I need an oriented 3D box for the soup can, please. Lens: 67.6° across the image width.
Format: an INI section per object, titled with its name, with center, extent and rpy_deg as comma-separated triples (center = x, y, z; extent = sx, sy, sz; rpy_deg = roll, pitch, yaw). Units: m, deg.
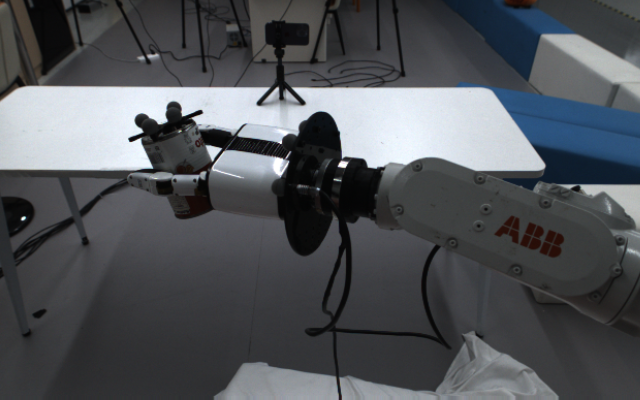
[soup can]
center = -0.161, -0.036, 0.582
extent = 0.067, 0.101, 0.067
rpy_deg = -16, 23, 7
